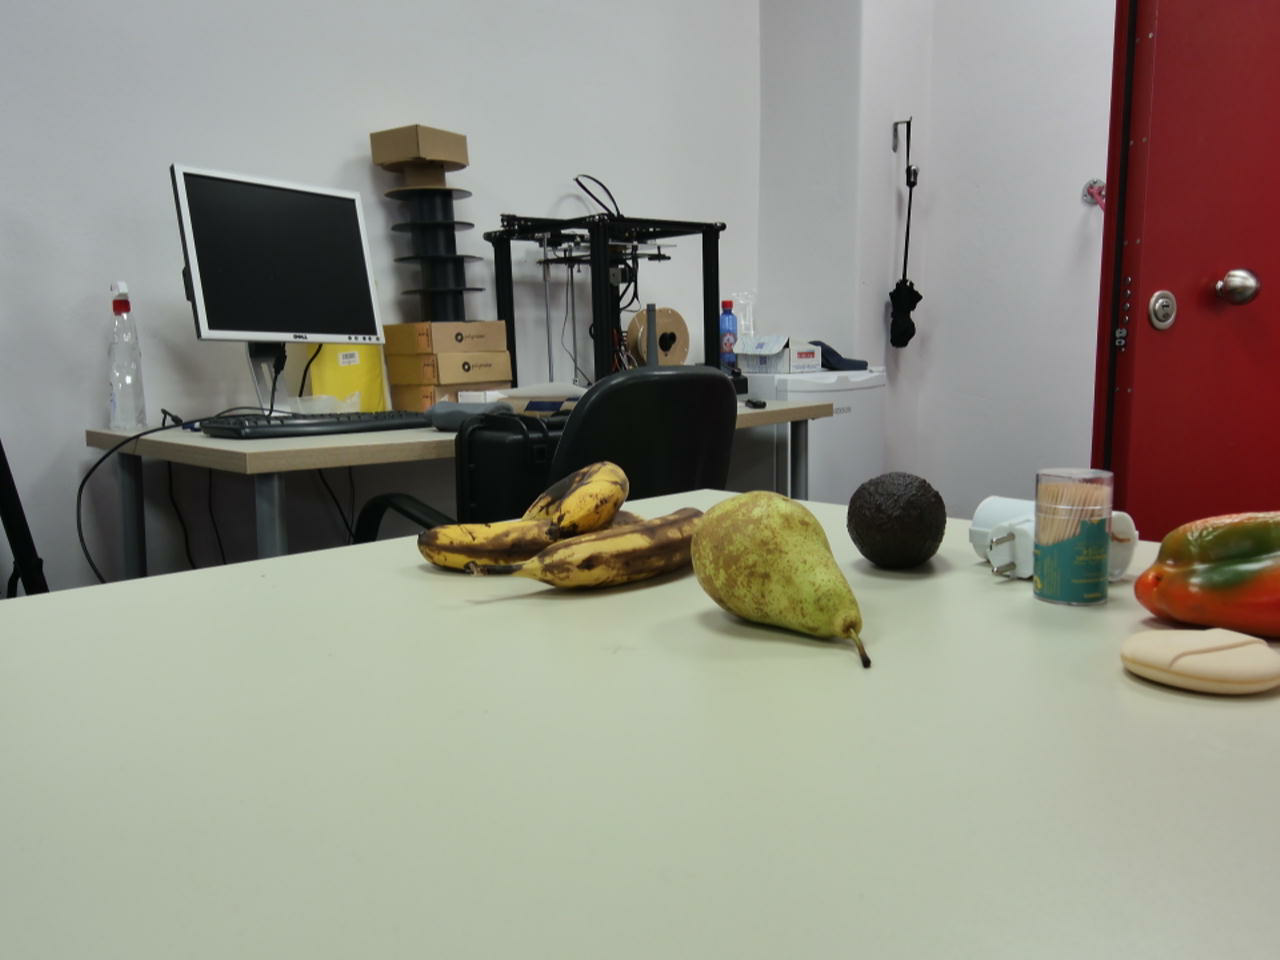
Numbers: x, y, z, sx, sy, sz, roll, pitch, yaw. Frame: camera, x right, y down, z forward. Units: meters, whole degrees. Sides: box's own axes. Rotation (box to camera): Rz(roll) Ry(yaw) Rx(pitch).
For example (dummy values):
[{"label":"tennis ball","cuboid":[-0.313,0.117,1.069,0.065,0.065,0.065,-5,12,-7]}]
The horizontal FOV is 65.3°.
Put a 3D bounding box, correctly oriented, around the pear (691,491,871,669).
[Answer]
[{"label":"pear","cuboid":[0.082,0.046,0.542,0.128,0.075,0.071,6,7,39]}]
